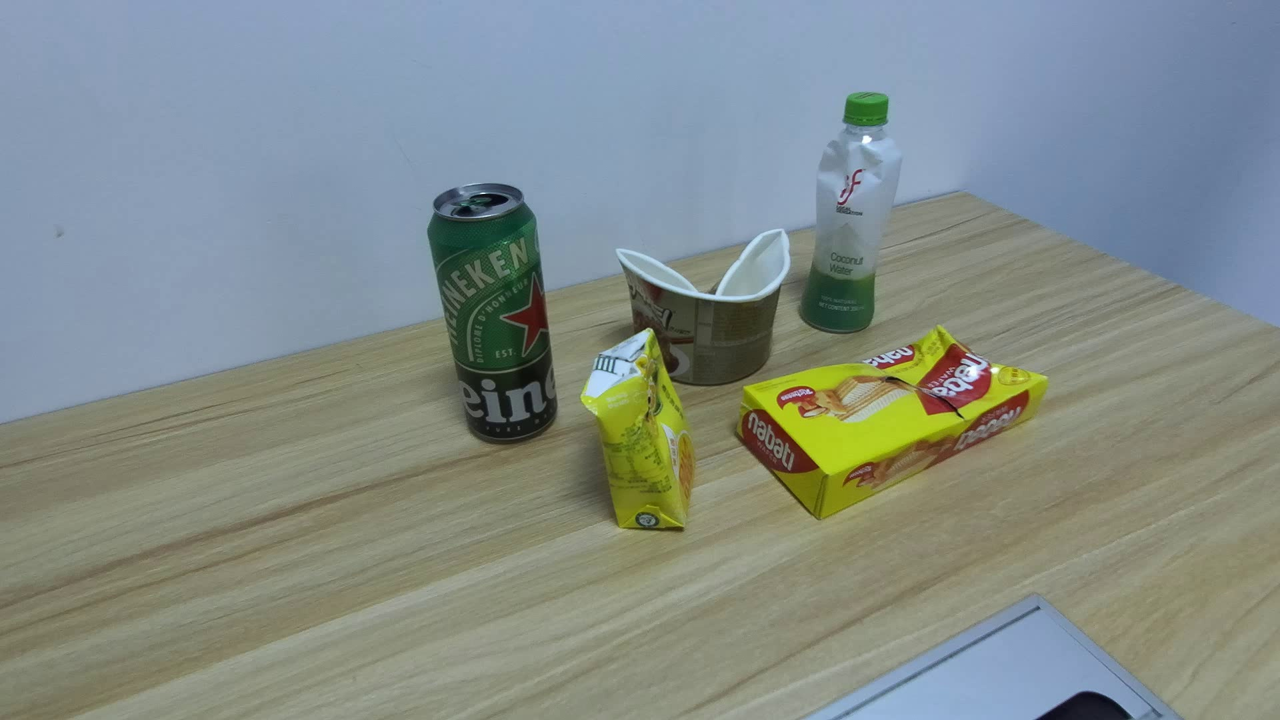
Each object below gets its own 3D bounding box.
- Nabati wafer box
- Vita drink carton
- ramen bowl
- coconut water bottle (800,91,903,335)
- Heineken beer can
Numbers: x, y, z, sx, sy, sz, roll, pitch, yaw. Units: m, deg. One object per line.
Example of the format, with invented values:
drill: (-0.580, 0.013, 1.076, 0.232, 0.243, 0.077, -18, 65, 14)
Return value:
Nabati wafer box: (0.176, 0.029, 0.495, 0.205, 0.042, 0.106, -17, 39, -24)
Vita drink carton: (0.000, 0.042, 0.424, 0.042, 0.108, 0.087, -7, 29, 17)
ramen bowl: (0.049, -0.043, 0.549, 0.137, 0.098, 0.137, -3, 35, 2)
coconut water bottle: (0.168, -0.115, 0.566, 0.069, 0.186, 0.069, -2, 34, 1)
Heineken beer can: (-0.095, -0.026, 0.473, 0.067, 0.169, 0.067, -2, 34, 1)
